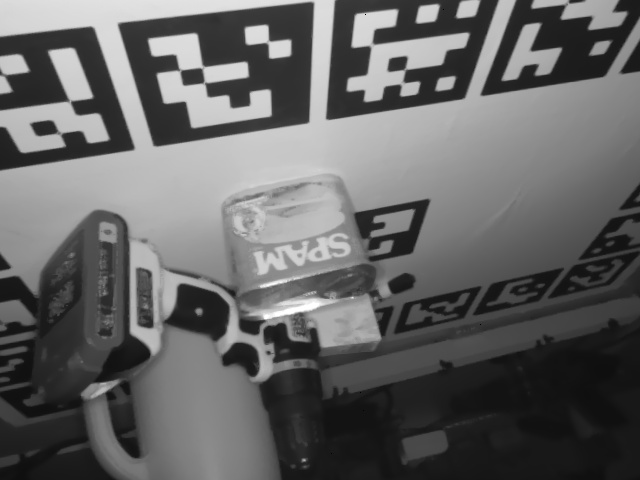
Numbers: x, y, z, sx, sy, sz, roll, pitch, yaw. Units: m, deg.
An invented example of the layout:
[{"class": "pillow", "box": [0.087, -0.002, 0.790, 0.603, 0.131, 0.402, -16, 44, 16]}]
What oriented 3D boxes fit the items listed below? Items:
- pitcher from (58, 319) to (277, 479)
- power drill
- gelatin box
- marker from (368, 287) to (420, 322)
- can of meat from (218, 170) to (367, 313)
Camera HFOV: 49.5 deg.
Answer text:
[{"class": "pitcher", "box": [-0.120, 0.172, 0.612, 0.192, 0.243, 0.131, 5, 138, -38]}, {"class": "power drill", "box": [-0.079, 0.086, 0.548, 0.189, 0.185, 0.056, 17, 132, -31]}, {"class": "gelatin box", "box": [0.003, 0.080, 0.674, 0.090, 0.073, 0.030, -3, 140, -16]}, {"class": "marker", "box": [0.051, 0.081, 0.740, 0.120, 0.020, 0.020, -27, 144, 13]}, {"class": "can of meat", "box": [-0.024, 0.000, 0.532, 0.102, 0.084, 0.057, -11, 148, -7]}]
